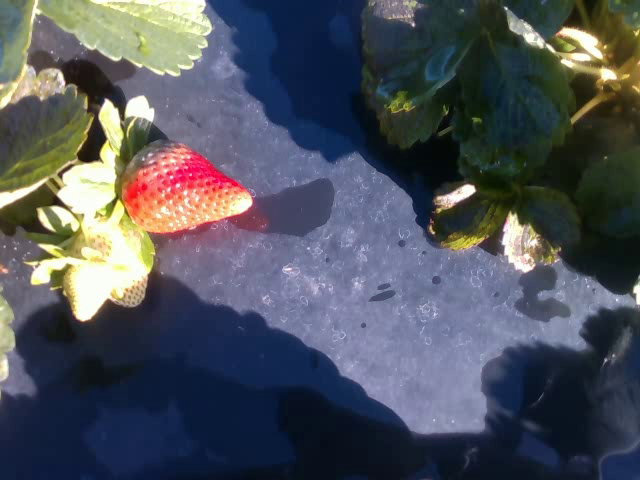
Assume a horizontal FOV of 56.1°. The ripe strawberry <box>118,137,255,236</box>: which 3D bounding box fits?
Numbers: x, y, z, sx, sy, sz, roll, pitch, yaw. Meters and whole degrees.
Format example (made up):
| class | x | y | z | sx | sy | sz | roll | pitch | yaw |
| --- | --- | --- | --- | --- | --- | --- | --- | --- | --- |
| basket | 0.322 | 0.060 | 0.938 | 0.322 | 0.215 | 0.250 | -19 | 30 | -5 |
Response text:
| class | x | y | z | sx | sy | sz | roll | pitch | yaw |
| --- | --- | --- | --- | --- | --- | --- | --- | --- | --- |
| ripe strawberry | -0.056 | -0.021 | 0.262 | 0.064 | 0.050 | 0.052 | 7 | 29 | 9 |
